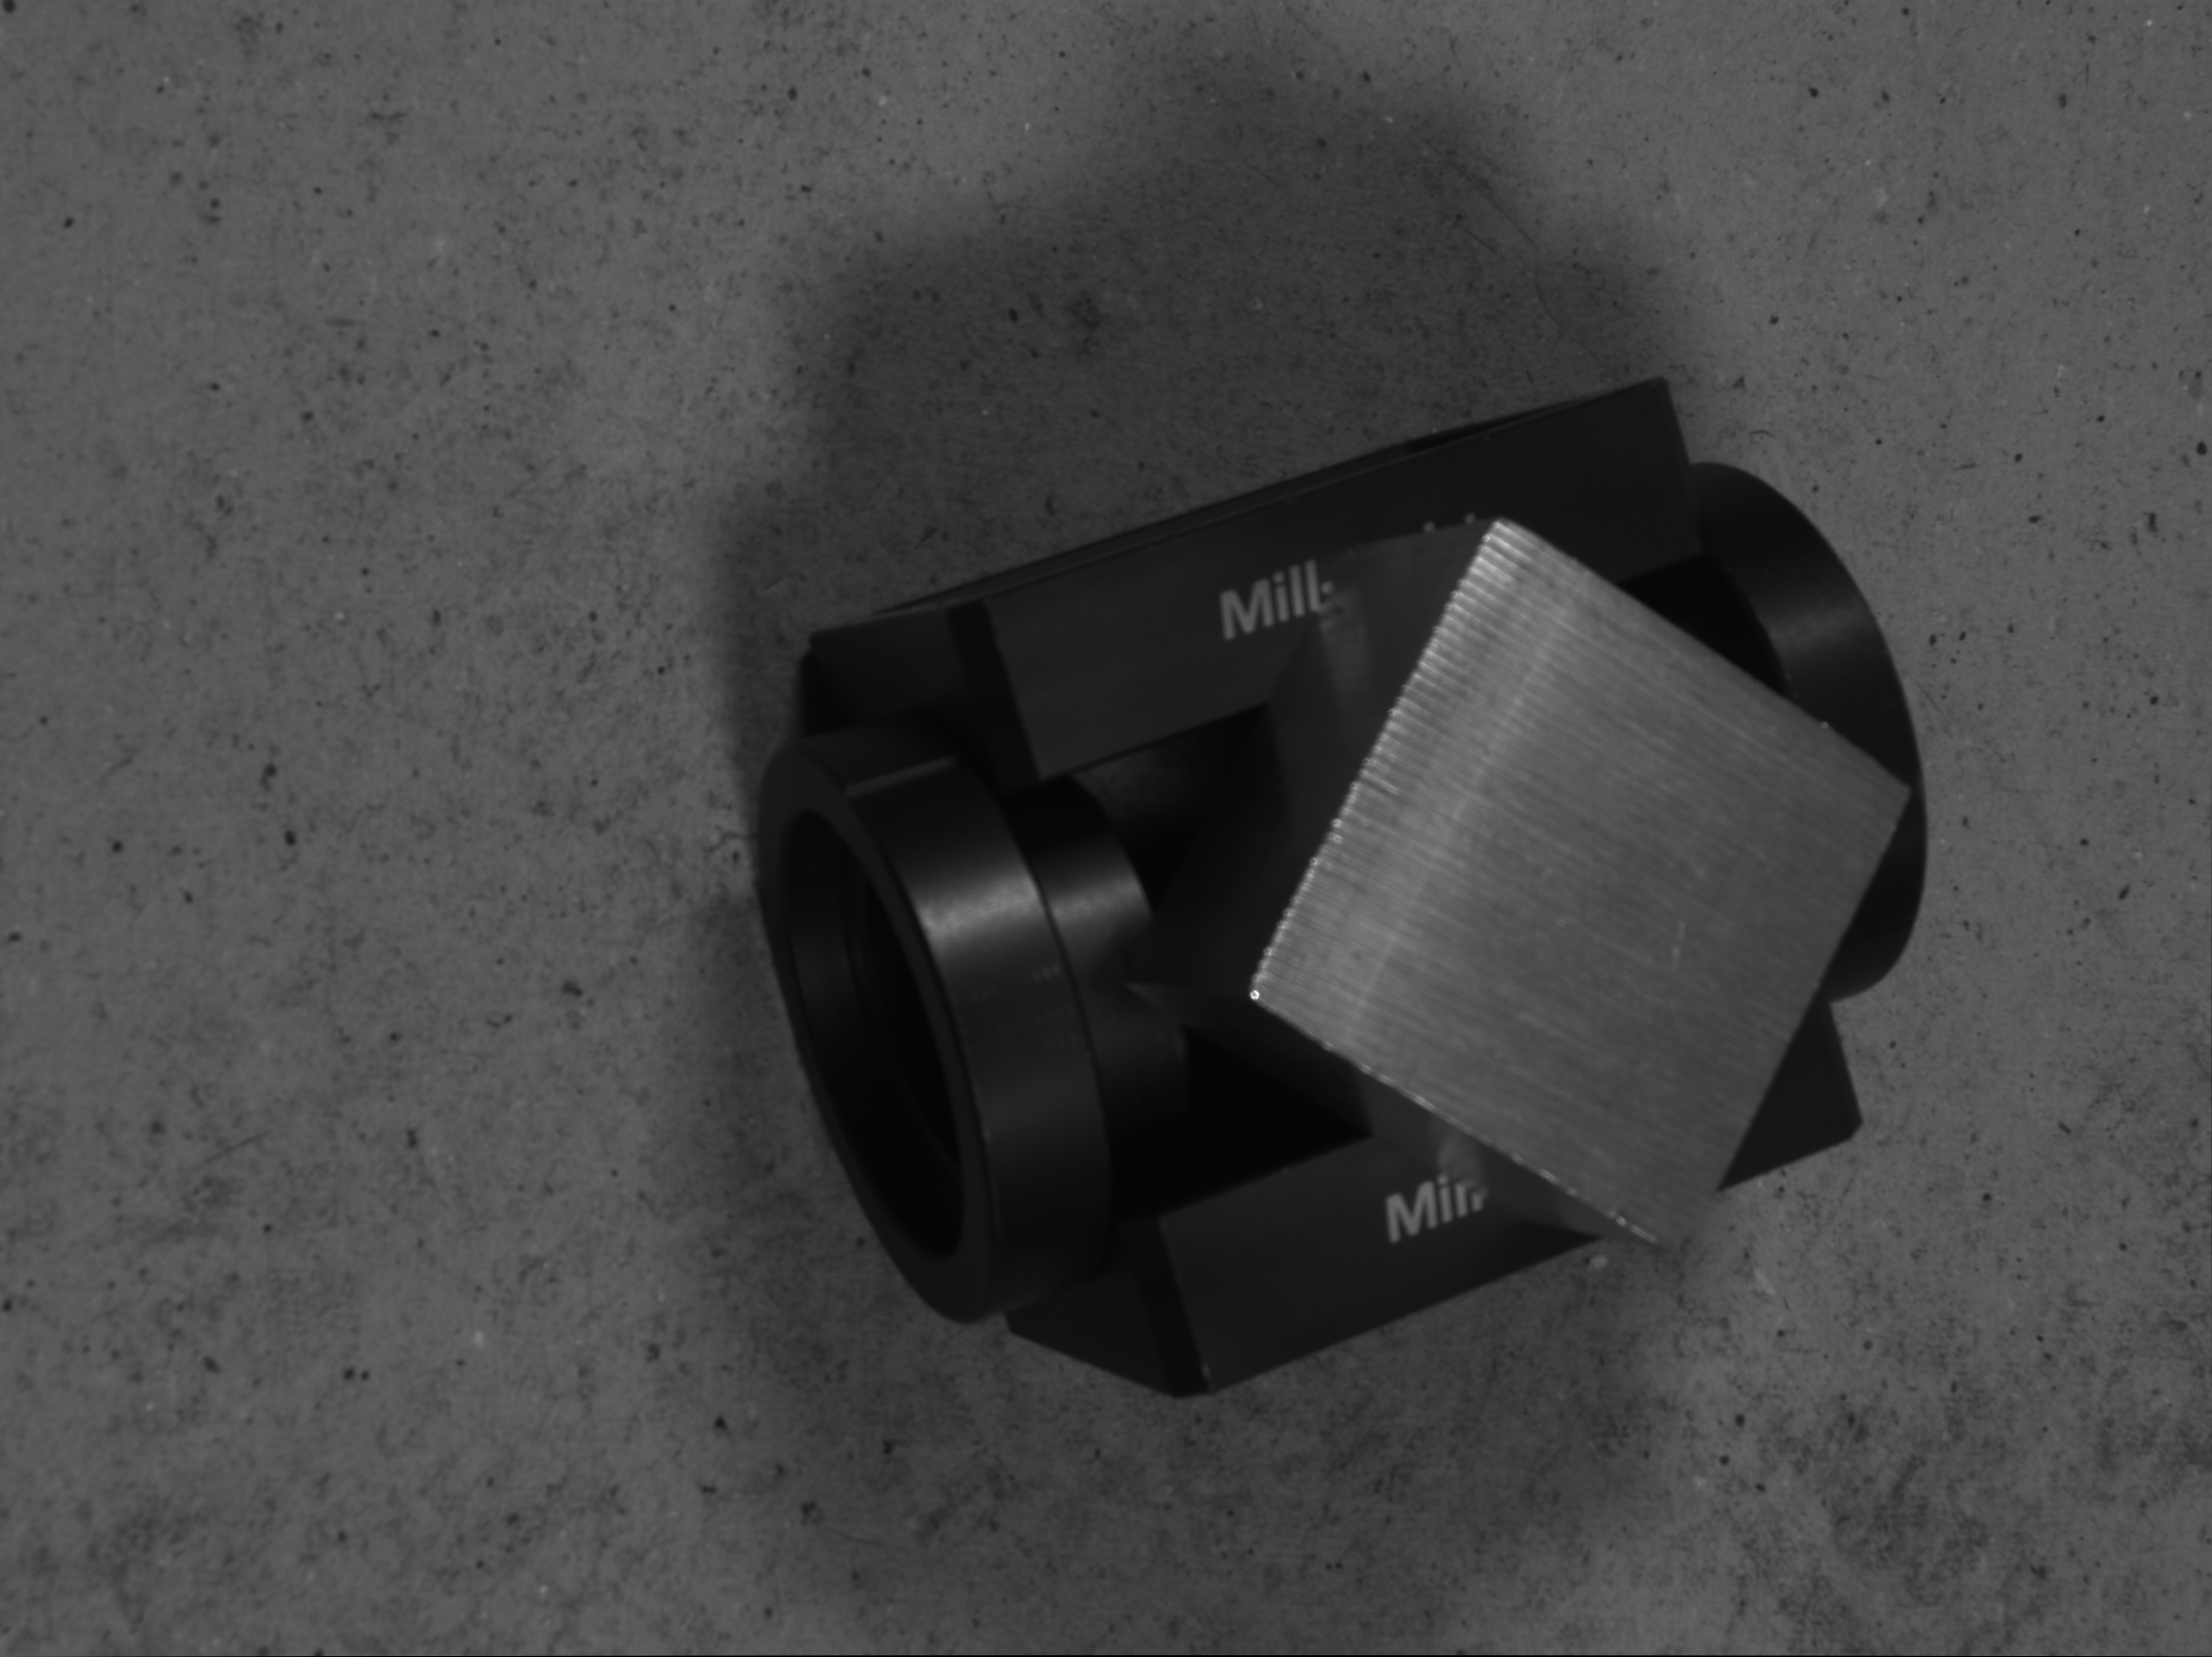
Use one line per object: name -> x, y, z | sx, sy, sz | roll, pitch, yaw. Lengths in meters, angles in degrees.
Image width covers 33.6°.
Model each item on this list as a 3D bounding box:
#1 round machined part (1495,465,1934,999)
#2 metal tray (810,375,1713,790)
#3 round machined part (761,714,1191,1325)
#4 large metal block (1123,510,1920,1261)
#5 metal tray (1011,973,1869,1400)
round machined part -> 0.099, -0.011, 0.640 | 0.042, 0.098, 0.098 | -16, 95, -19
metal tray -> 0.024, -0.040, 0.619 | 0.130, 0.090, 0.030 | -19, 96, -19
round machined part -> -0.019, 0.028, 0.597 | 0.042, 0.098, 0.098 | -16, 95, -19
large metal block -> 0.062, 0.009, 0.555 | 0.080, 0.050, 0.080 | 31, 80, -17
metal tray -> 0.052, 0.055, 0.626 | 0.130, 0.090, 0.030 | -19, 96, -19
